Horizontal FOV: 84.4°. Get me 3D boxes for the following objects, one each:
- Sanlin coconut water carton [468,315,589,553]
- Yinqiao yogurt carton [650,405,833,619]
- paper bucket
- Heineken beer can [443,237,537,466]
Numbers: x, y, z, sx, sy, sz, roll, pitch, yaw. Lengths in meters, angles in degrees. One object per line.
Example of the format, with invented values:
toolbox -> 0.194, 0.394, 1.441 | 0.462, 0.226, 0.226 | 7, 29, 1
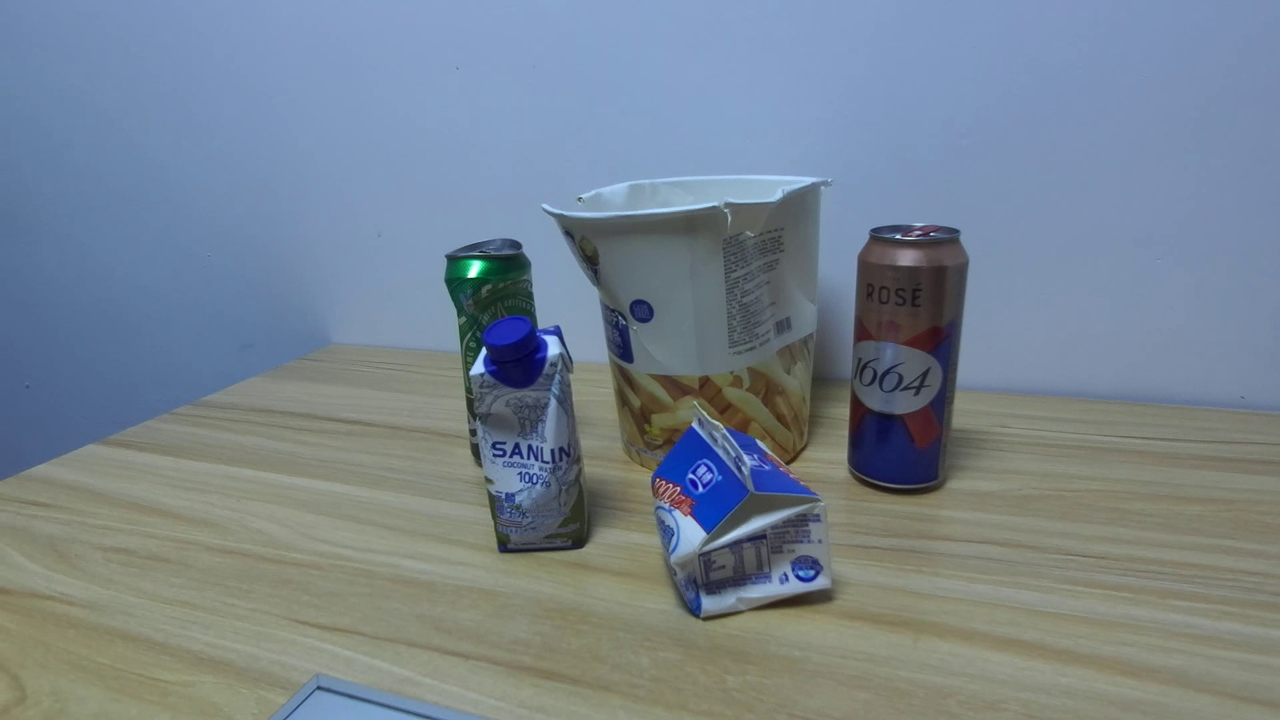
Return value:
Sanlin coconut water carton -> -0.067, 0.040, 0.423 | 0.061, 0.144, 0.070 | -4, 21, 2
Yinqiao yogurt carton -> 0.046, 0.076, 0.372 | 0.080, 0.097, 0.074 | -16, 22, -11
paper bucket -> 0.049, -0.031, 0.525 | 0.145, 0.197, 0.203 | 6, 21, 30
Heineken beer can -> -0.101, -0.003, 0.527 | 0.078, 0.164, 0.065 | -18, 20, -31
